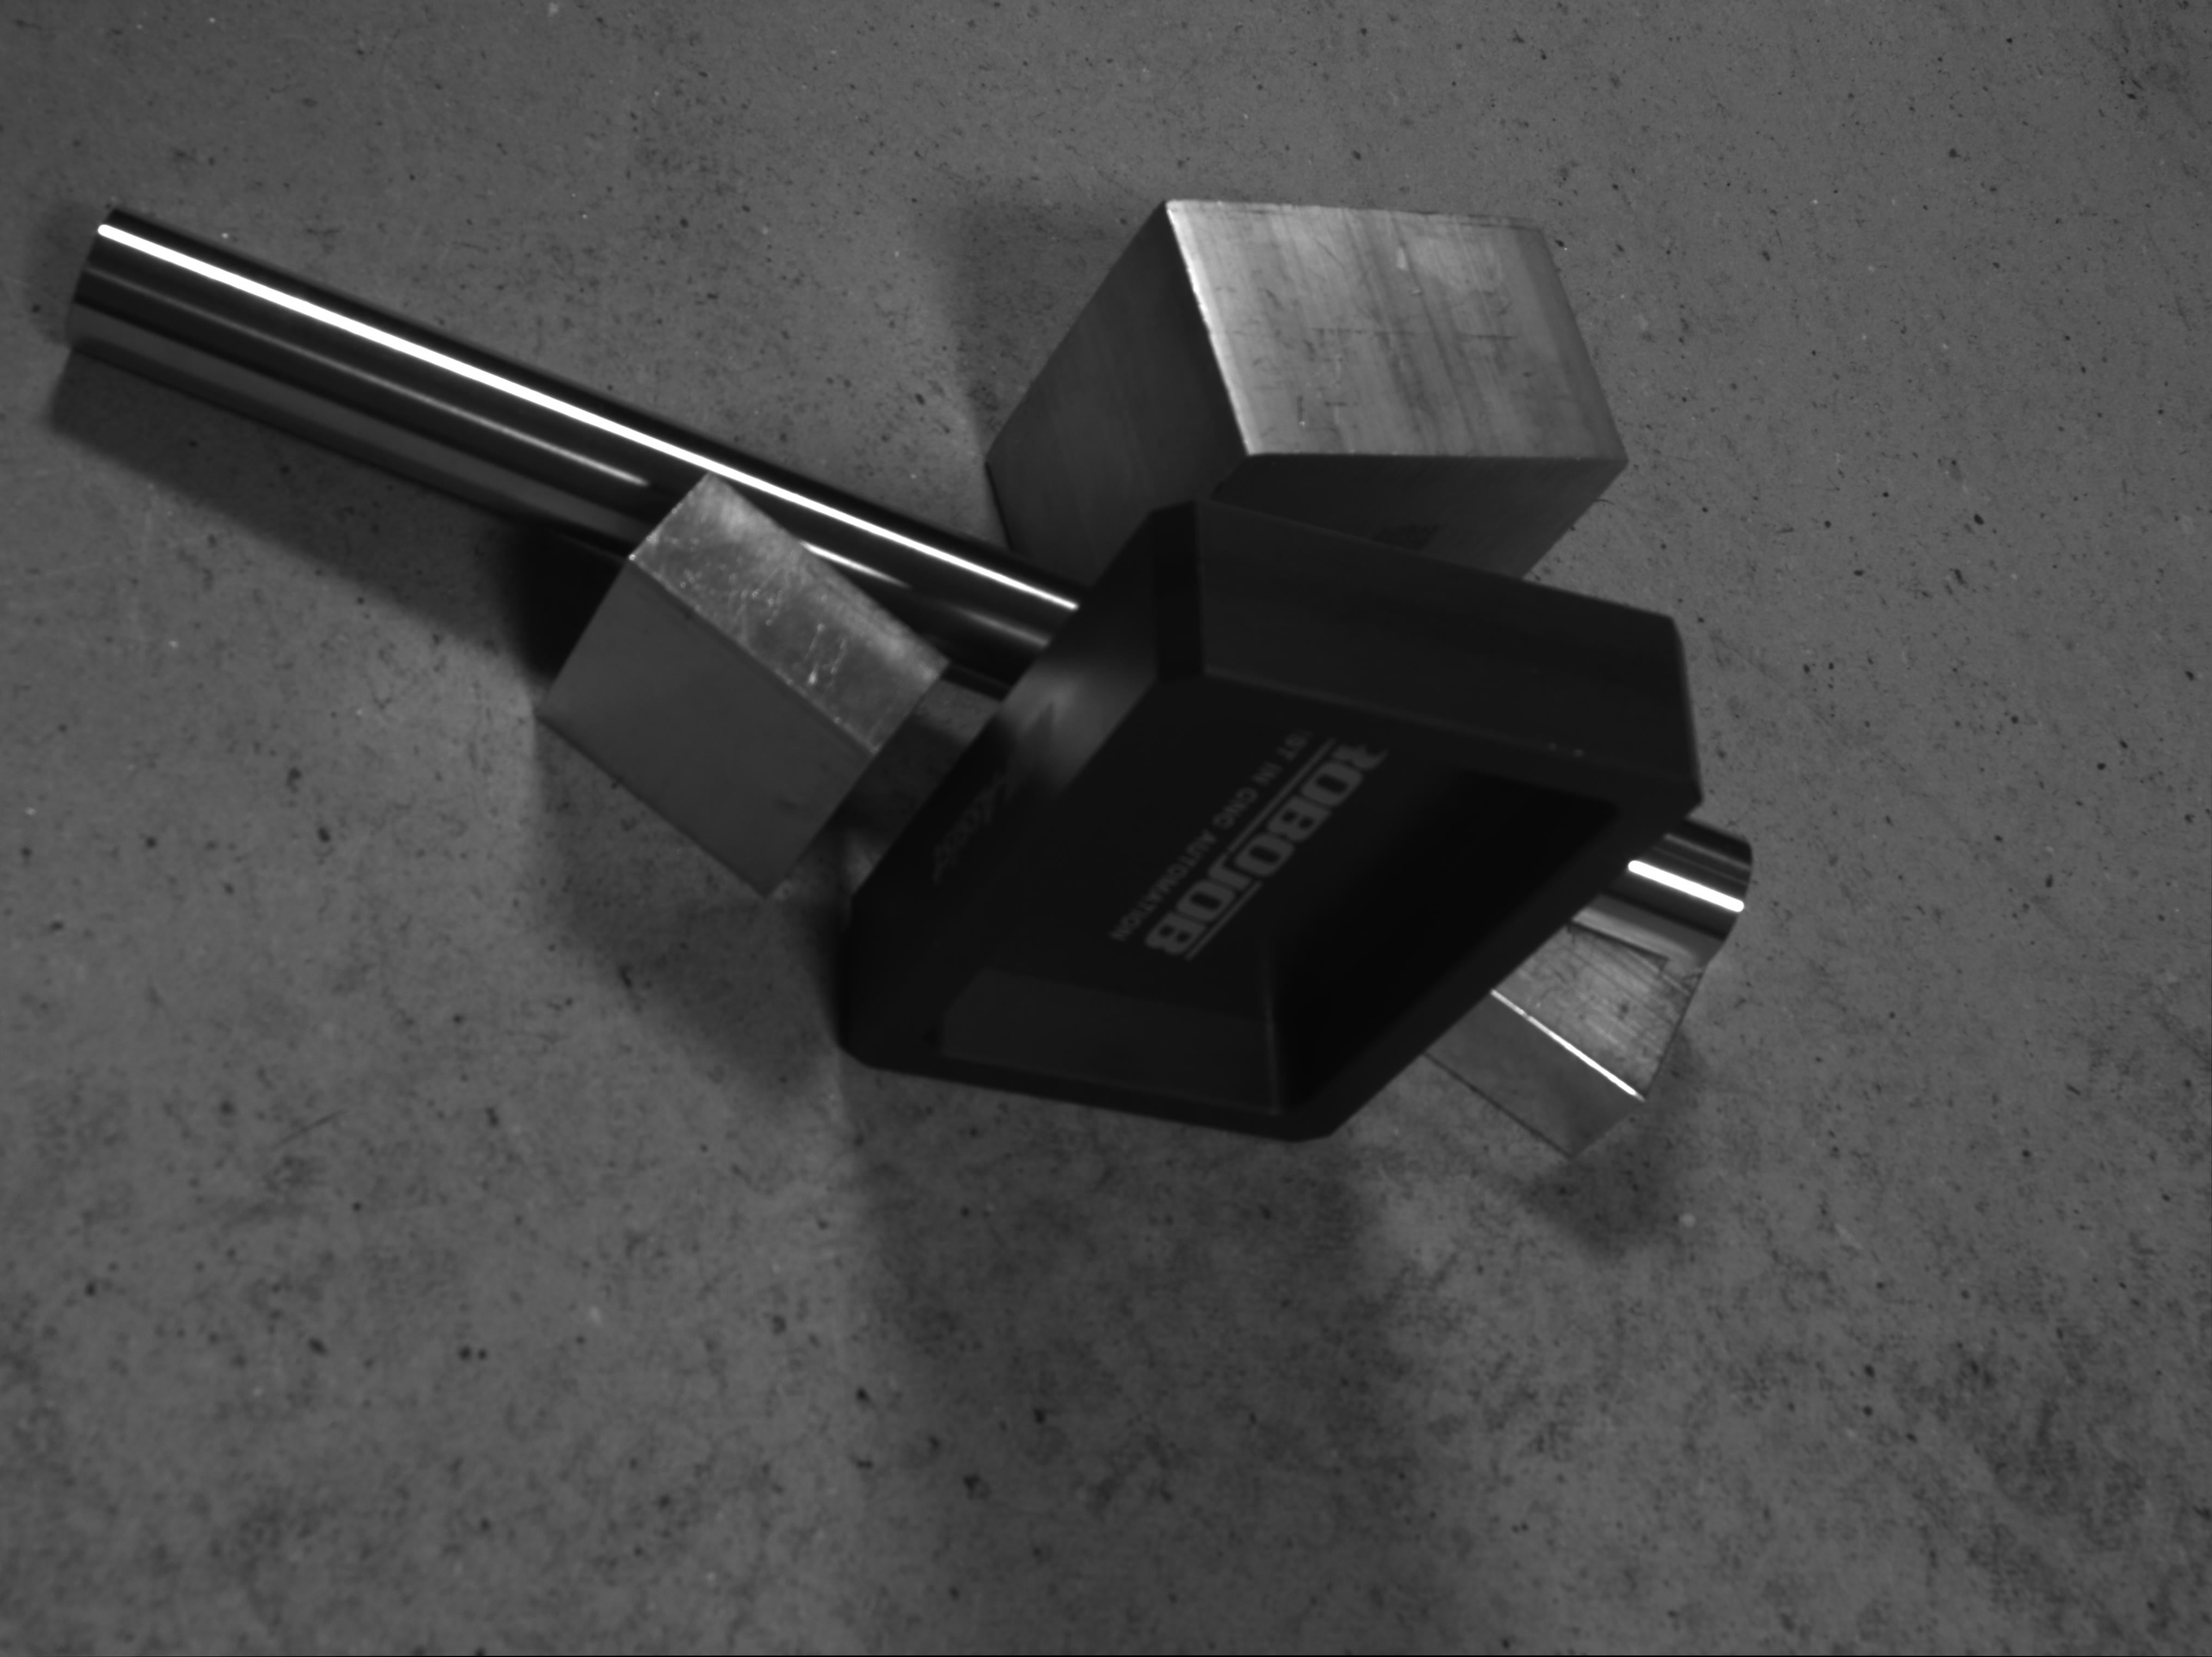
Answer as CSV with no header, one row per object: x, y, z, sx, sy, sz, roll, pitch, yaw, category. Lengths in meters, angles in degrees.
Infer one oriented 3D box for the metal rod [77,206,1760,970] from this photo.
-0.027,-0.039,0.632,0.300,0.025,0.025,21,54,-9,metal rod

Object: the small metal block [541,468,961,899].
-0.059,-0.023,0.605,0.050,0.050,0.025,38,51,-2,small metal block

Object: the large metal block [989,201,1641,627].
0.036,-0.067,0.663,0.080,0.080,0.050,-2,62,-29,large metal block

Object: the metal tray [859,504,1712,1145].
0.024,0.004,0.583,0.090,0.130,0.030,12,57,-21,metal tray

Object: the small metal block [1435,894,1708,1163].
0.081,0.024,0.670,0.050,0.025,0.050,36,51,-4,small metal block
